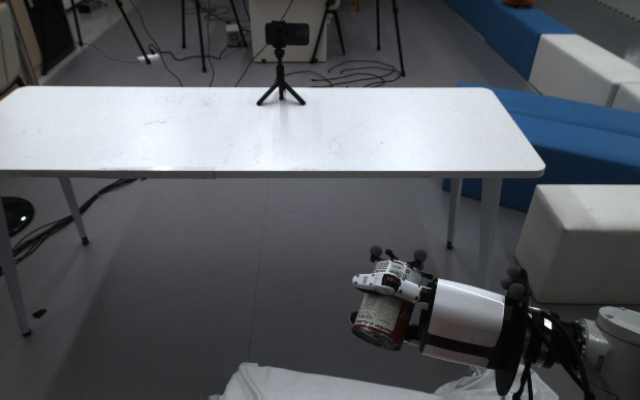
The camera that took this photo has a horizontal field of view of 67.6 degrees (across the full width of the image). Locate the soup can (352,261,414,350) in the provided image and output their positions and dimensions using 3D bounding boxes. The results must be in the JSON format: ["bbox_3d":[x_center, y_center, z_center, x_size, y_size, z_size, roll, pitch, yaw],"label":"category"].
[{"bbox_3d":[0.093,0.137,0.638,0.067,0.067,0.101,15,63,18],"label":"soup can"}]
